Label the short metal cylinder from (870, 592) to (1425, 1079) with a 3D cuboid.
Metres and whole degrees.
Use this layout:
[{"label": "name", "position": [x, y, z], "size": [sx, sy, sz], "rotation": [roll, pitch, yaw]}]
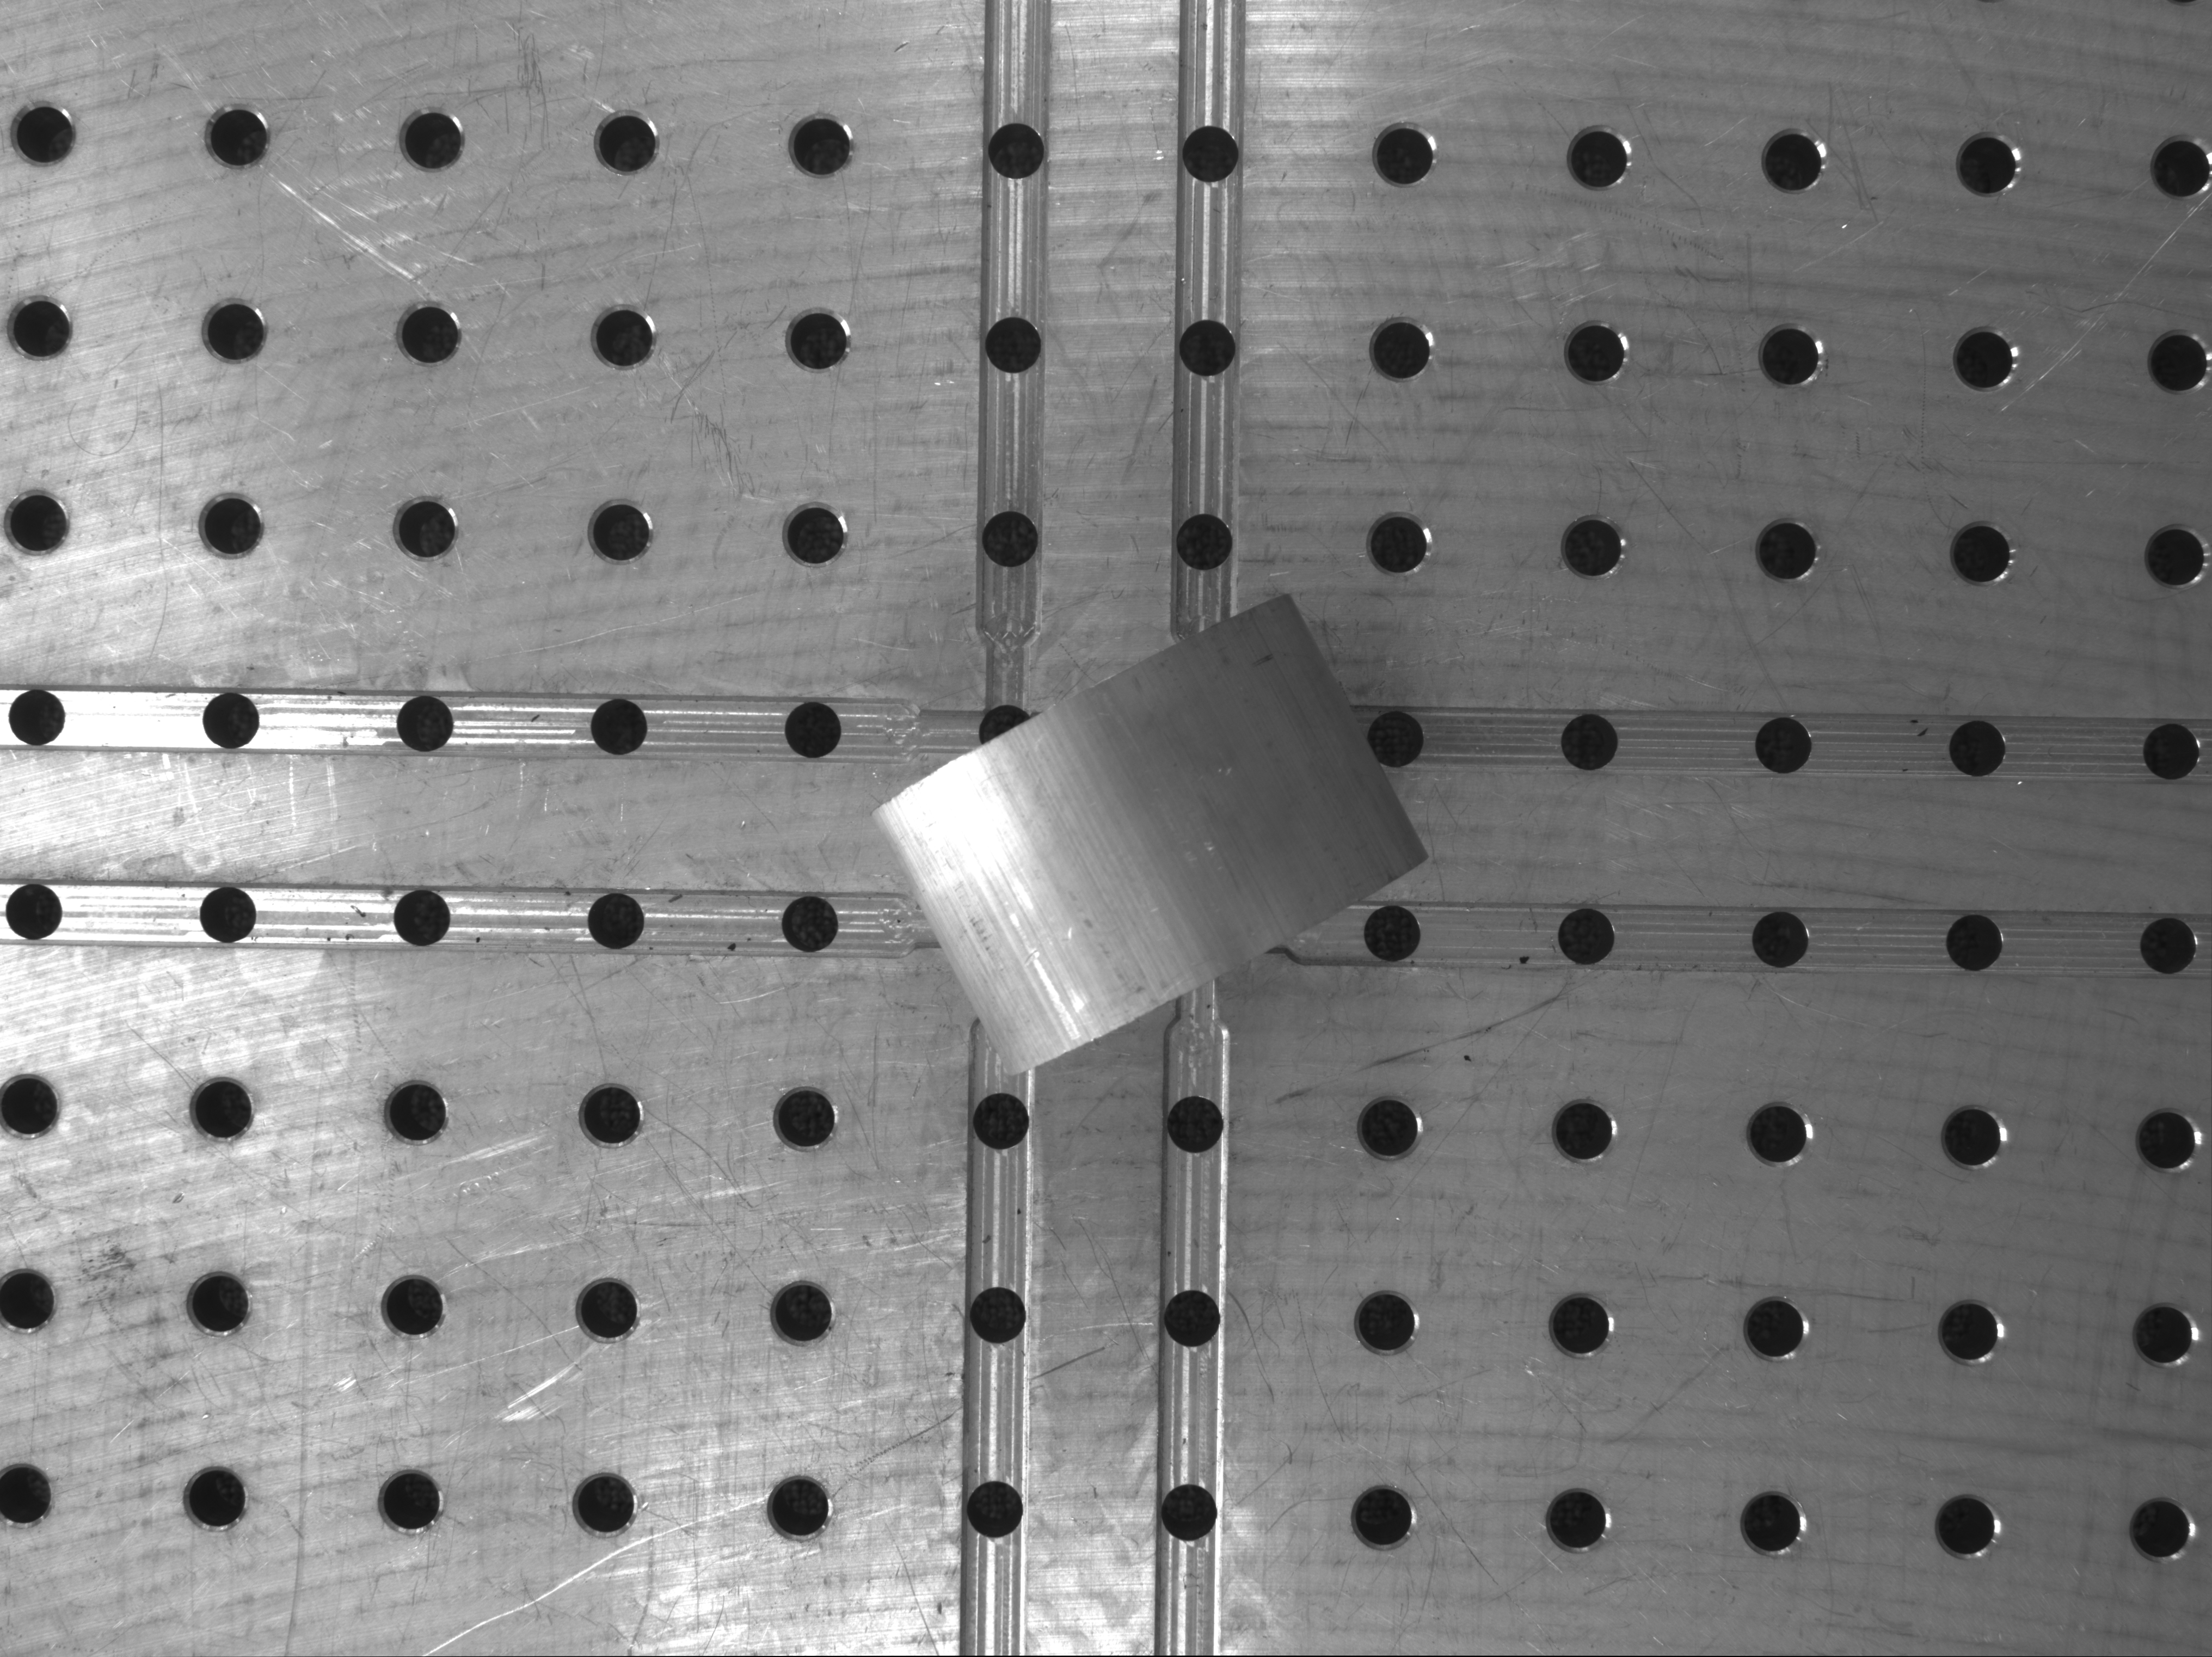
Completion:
[{"label": "short metal cylinder", "position": [0.007, 0.001, 0.620], "size": [0.080, 0.080, 0.050], "rotation": [-28, 89, 0]}]
